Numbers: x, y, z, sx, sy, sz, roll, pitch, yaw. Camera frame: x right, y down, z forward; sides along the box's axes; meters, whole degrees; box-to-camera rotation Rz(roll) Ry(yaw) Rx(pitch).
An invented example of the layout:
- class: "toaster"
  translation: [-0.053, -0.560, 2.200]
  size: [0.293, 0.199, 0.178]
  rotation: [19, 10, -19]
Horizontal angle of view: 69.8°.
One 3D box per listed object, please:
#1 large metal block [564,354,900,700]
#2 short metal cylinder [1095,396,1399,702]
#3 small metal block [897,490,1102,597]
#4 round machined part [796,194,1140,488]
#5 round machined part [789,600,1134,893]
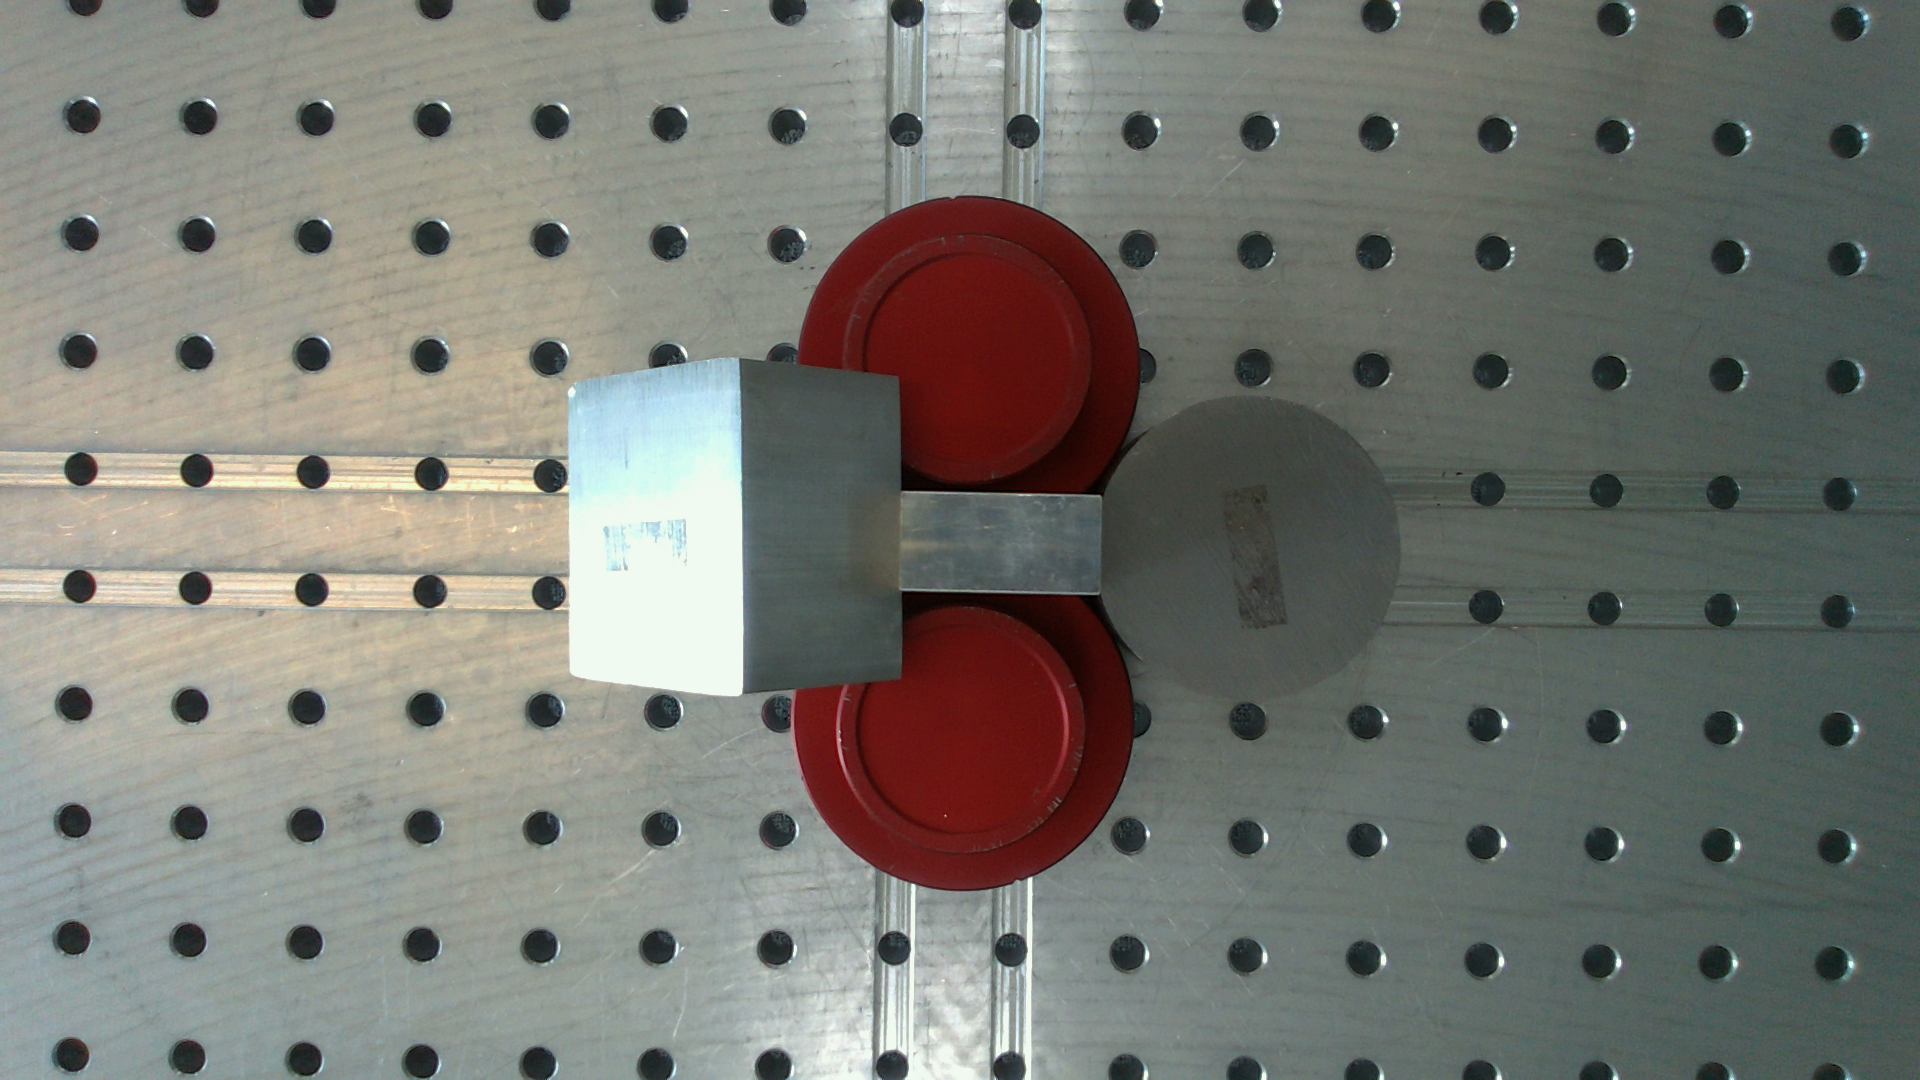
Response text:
- class: "large metal block"
  translation: [-0.062, -0.003, 0.364]
  size: [0.050, 0.080, 0.080]
  rotation: [-1, 90, -44]
- class: "short metal cylinder"
  translation: [0.075, 0.002, 0.384]
  size: [0.080, 0.050, 0.080]
  rotation: [0, 90, 0]
- class: "small metal block"
  translation: [0.010, 0.001, 0.363]
  size: [0.050, 0.050, 0.025]
  rotation: [1, 90, 0]
- class: "round machined part"
  translation: [0.002, -0.049, 0.389]
  size: [0.098, 0.042, 0.098]
  rotation: [0, 90, 0]
- class: "round machined part"
  translation: [0.000, 0.051, 0.390]
  size: [0.098, 0.042, 0.098]
  rotation: [0, 90, 0]
